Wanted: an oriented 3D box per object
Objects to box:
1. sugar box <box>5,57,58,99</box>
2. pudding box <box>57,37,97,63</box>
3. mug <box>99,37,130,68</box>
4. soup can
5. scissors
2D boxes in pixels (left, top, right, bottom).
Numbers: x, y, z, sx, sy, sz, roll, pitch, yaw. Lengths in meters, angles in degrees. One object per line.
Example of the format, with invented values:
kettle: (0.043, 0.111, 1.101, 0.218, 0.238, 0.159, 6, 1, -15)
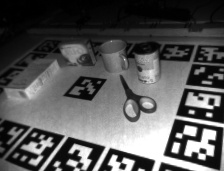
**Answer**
sugar box: (-0.270, -0.030, 0.742, 0.092, 0.046, 0.176, 3, 45, 25)
pudding box: (-0.120, -0.125, 0.755, 0.113, 0.091, 0.038, -1, 49, 18)
mug: (0.015, -0.104, 0.698, 0.093, 0.082, 0.116, -20, 39, 0)
soup can: (0.102, -0.068, 0.624, 0.067, 0.103, 0.067, -10, 39, 9)
scissors: (0.052, 0.019, 0.594, 0.088, 0.016, 0.200, -29, 42, 0)
